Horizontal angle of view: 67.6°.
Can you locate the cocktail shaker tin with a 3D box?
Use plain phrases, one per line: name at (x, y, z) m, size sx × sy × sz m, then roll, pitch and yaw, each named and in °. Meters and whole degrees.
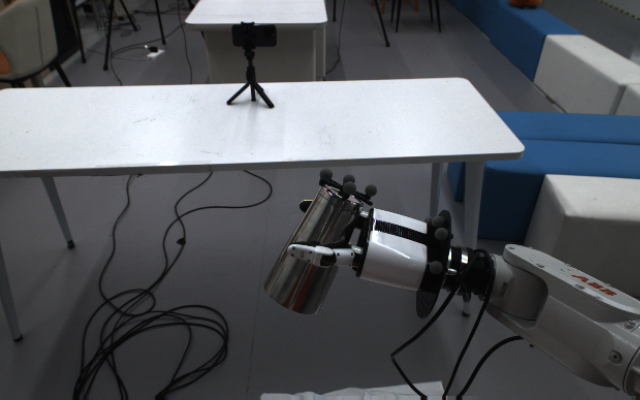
cocktail shaker tin at (-0.002, 0.065, 0.694) m, size 0.093 × 0.170 × 0.093 m, roll 24°, pitch 13°, yaw -6°
